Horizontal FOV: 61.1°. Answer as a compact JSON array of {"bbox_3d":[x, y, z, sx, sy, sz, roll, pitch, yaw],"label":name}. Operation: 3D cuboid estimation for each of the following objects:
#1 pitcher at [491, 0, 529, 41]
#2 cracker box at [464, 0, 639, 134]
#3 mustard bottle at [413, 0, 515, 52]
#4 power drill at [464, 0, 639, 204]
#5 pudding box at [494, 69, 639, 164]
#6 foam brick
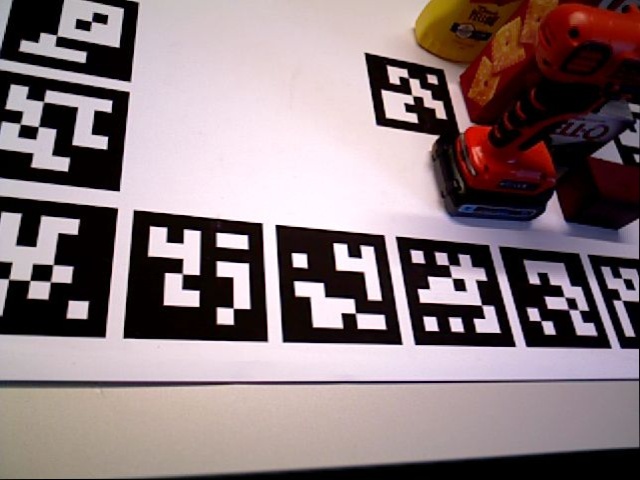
[{"bbox_3d":[0.307,-0.282,0.589,0.187,0.248,0.131,9,61,-16],"label":"pitcher"},{"bbox_3d":[0.273,-0.191,0.535,0.162,0.219,0.071,1,62,-19],"label":"cracker box"},{"bbox_3d":[0.181,-0.285,0.553,0.095,0.196,0.057,16,60,-14],"label":"mustard bottle"},{"bbox_3d":[0.226,-0.104,0.453,0.182,0.191,0.057,3,59,-22],"label":"power drill"},{"bbox_3d":[0.253,-0.124,0.558,0.112,0.092,0.038,4,61,-17],"label":"pudding box"},{"bbox_3d":[0.301,-0.048,0.579,0.077,0.052,0.052,6,64,-19],"label":"foam brick"}]
